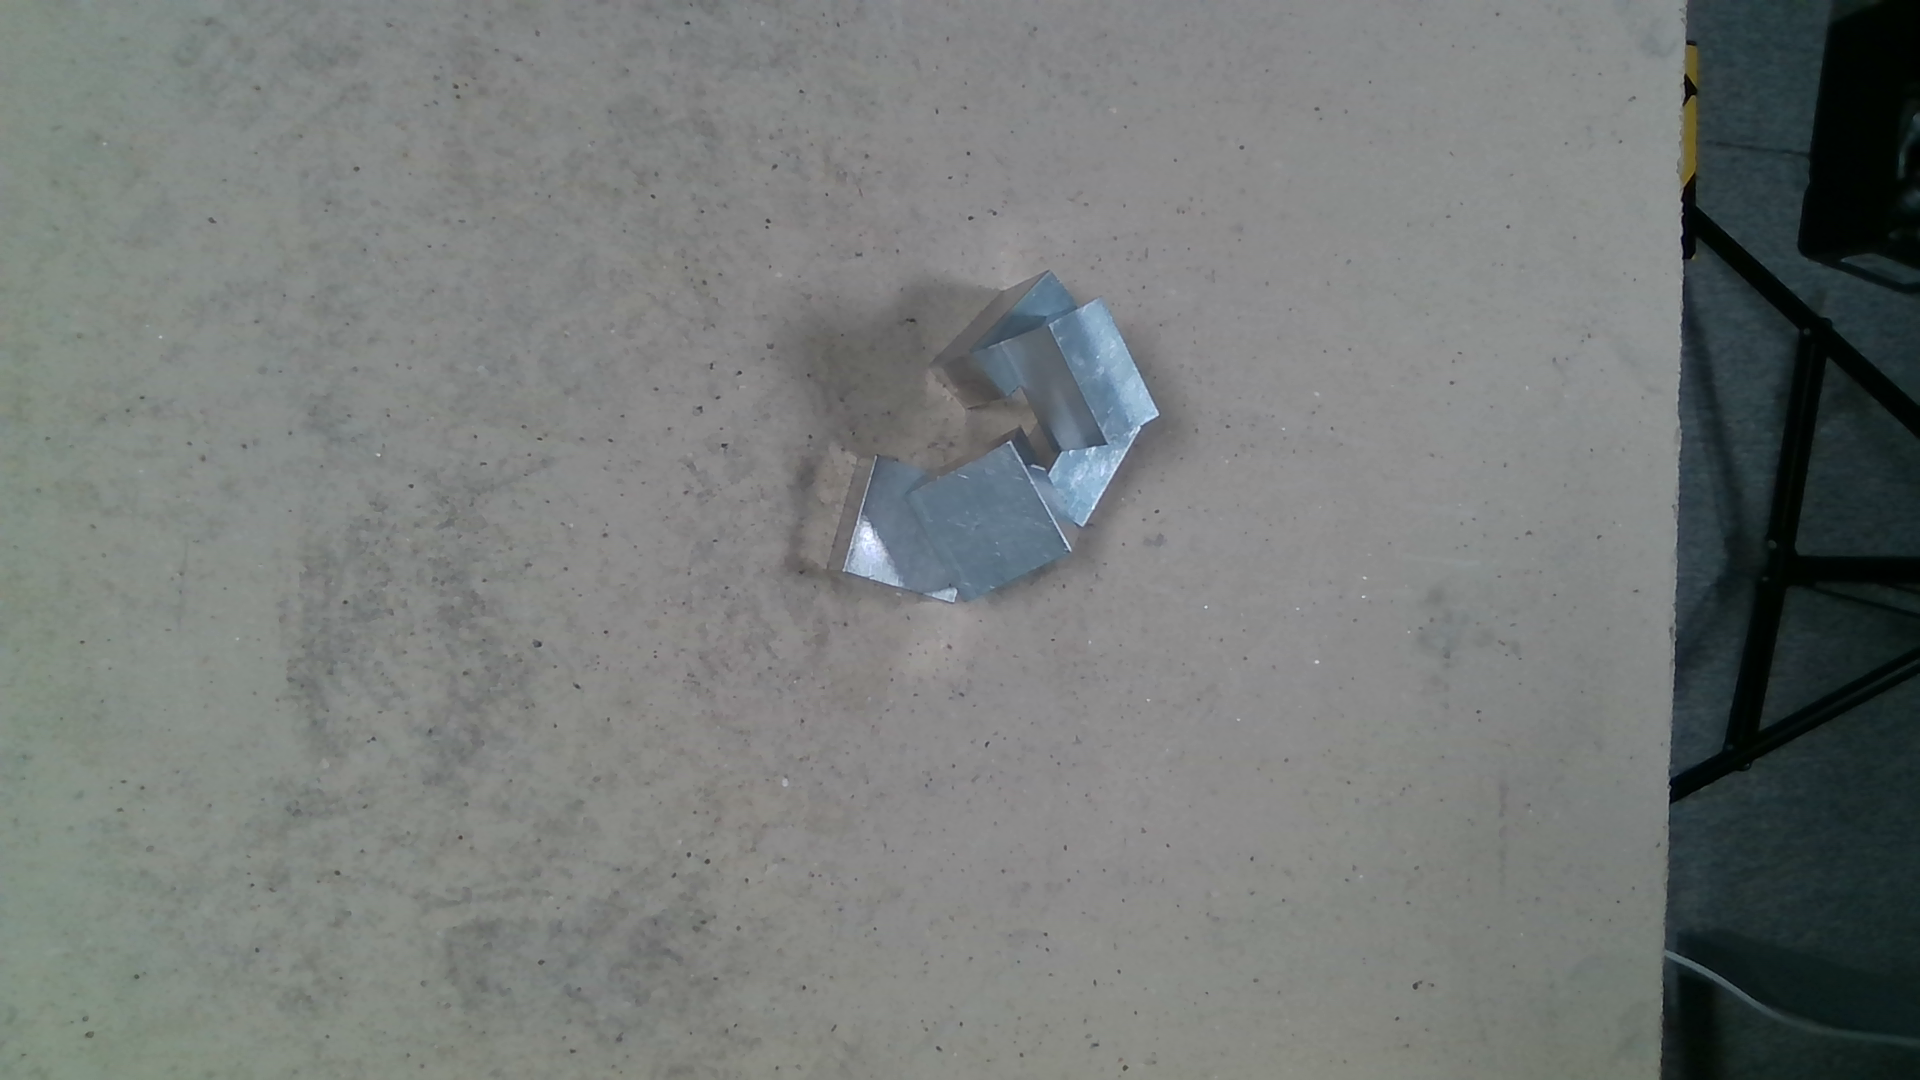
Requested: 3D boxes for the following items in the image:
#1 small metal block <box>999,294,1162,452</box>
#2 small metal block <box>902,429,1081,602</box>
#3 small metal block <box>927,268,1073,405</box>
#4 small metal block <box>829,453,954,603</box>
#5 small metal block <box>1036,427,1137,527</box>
[{"bbox_3d":[0.046,-0.064,0.536,0.025,0.050,0.050,-31,100,-18],"label":"small metal block"},{"bbox_3d":[0.013,-0.011,0.551,0.050,0.025,0.050,-26,101,19],"label":"small metal block"},{"bbox_3d":[0.019,-0.084,0.580,0.050,0.050,0.025,-47,105,-14],"label":"small metal block"},{"bbox_3d":[-0.023,-0.005,0.578,0.050,0.025,0.050,17,84,-20],"label":"small metal block"},{"bbox_3d":[0.044,-0.033,0.589,0.025,0.050,0.050,34,79,-17],"label":"small metal block"}]
